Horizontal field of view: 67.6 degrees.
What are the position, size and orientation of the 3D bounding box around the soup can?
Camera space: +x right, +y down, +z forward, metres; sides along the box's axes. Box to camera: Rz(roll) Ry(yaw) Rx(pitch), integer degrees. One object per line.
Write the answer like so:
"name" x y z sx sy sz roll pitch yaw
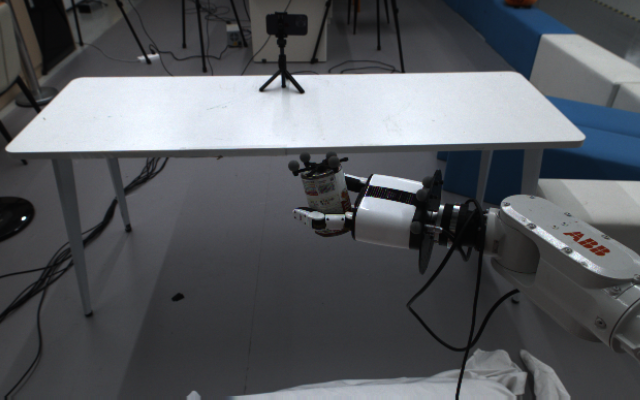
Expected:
"soup can" 0.014 -0.002 0.760 0.067 0.101 0.067 -13 20 5
